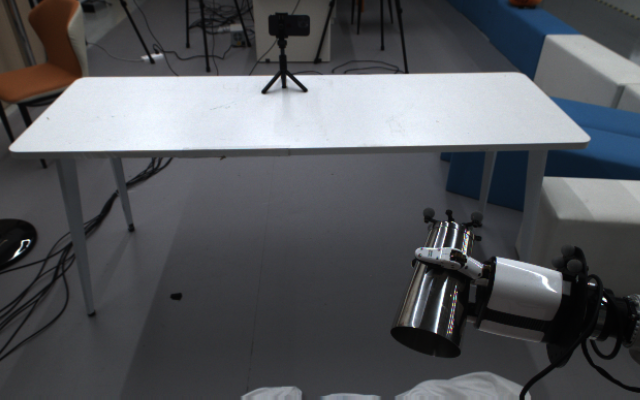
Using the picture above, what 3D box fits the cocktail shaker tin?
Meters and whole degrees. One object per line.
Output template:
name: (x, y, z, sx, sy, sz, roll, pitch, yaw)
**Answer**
cocktail shaker tin: (0.165, 0.114, 0.662, 0.093, 0.093, 0.170, 13, 57, 15)
